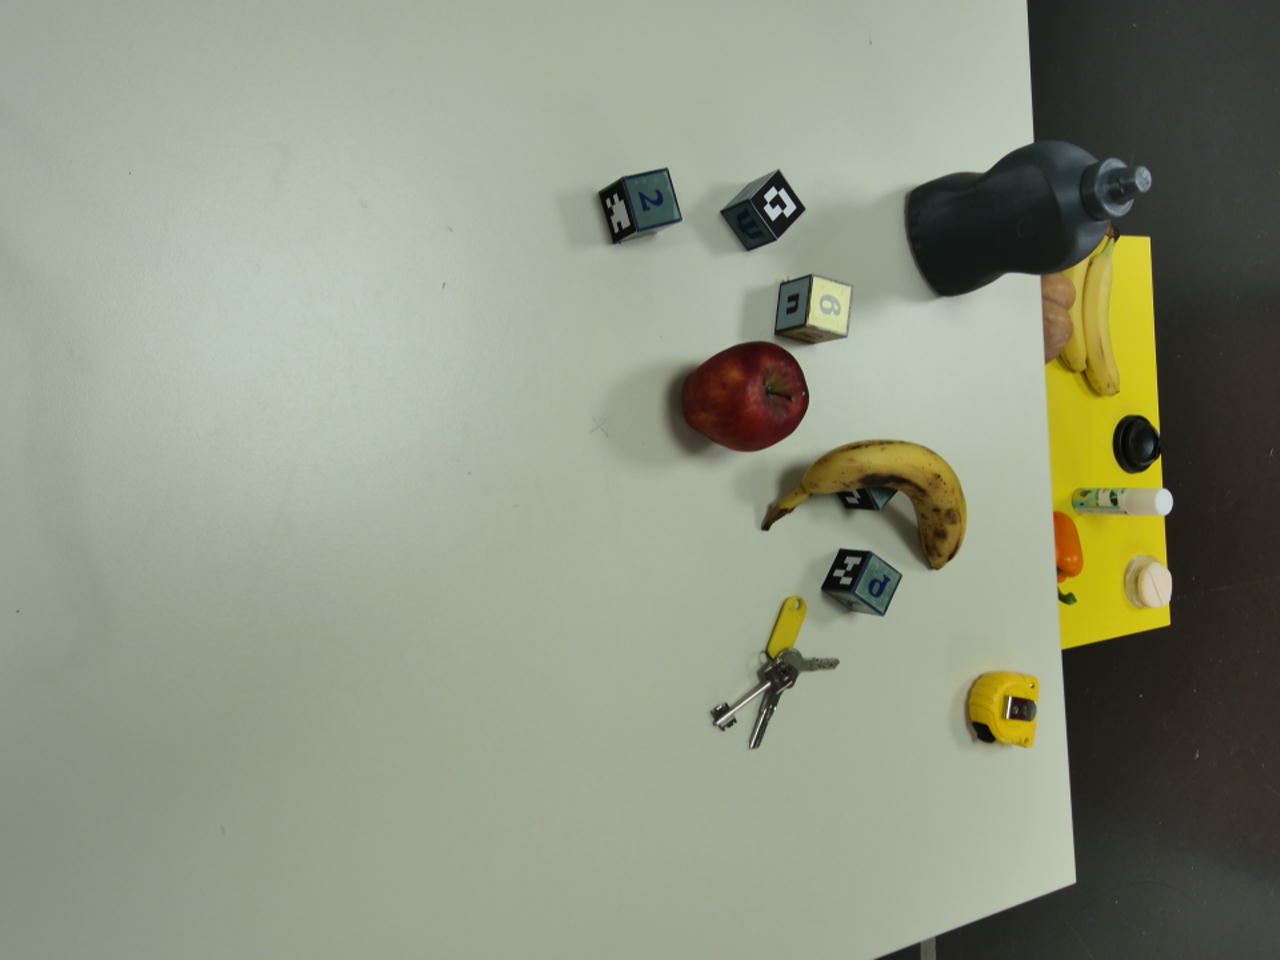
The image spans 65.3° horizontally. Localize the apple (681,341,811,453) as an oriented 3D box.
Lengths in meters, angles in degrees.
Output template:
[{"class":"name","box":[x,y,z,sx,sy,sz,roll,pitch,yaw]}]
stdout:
[{"class":"apple","box":[0.077,-0.059,0.699,0.083,0.090,0.083,0,90,-28]}]
